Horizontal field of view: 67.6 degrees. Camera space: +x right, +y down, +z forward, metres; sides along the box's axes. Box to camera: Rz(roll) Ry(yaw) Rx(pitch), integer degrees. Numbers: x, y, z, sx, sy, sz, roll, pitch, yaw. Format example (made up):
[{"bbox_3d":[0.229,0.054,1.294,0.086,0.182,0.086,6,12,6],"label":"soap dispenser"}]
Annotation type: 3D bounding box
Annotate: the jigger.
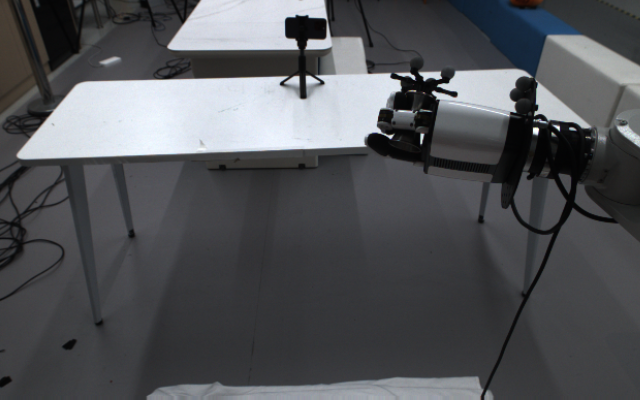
[{"bbox_3d":[0.119,-0.101,0.619,0.043,0.071,0.043,18,-6,2],"label":"jigger"}]
